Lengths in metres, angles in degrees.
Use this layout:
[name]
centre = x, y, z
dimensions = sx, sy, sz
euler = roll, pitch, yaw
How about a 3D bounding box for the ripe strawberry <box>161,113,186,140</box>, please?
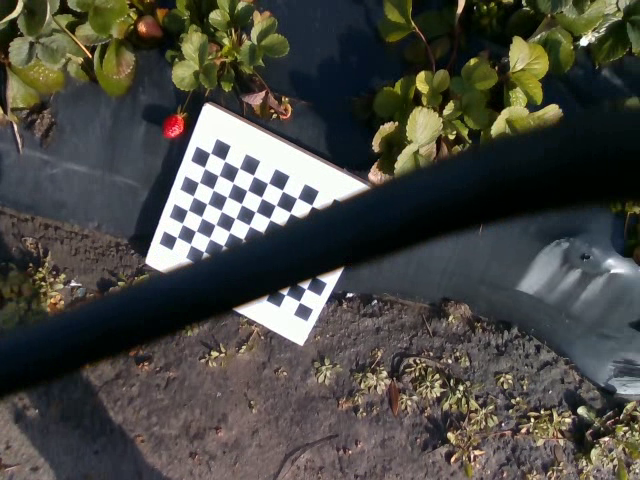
[ripe strawberry]
centre = -0.196, -0.142, 0.618
dimensions = 0.034, 0.038, 0.033
euler = 26, -33, 5
